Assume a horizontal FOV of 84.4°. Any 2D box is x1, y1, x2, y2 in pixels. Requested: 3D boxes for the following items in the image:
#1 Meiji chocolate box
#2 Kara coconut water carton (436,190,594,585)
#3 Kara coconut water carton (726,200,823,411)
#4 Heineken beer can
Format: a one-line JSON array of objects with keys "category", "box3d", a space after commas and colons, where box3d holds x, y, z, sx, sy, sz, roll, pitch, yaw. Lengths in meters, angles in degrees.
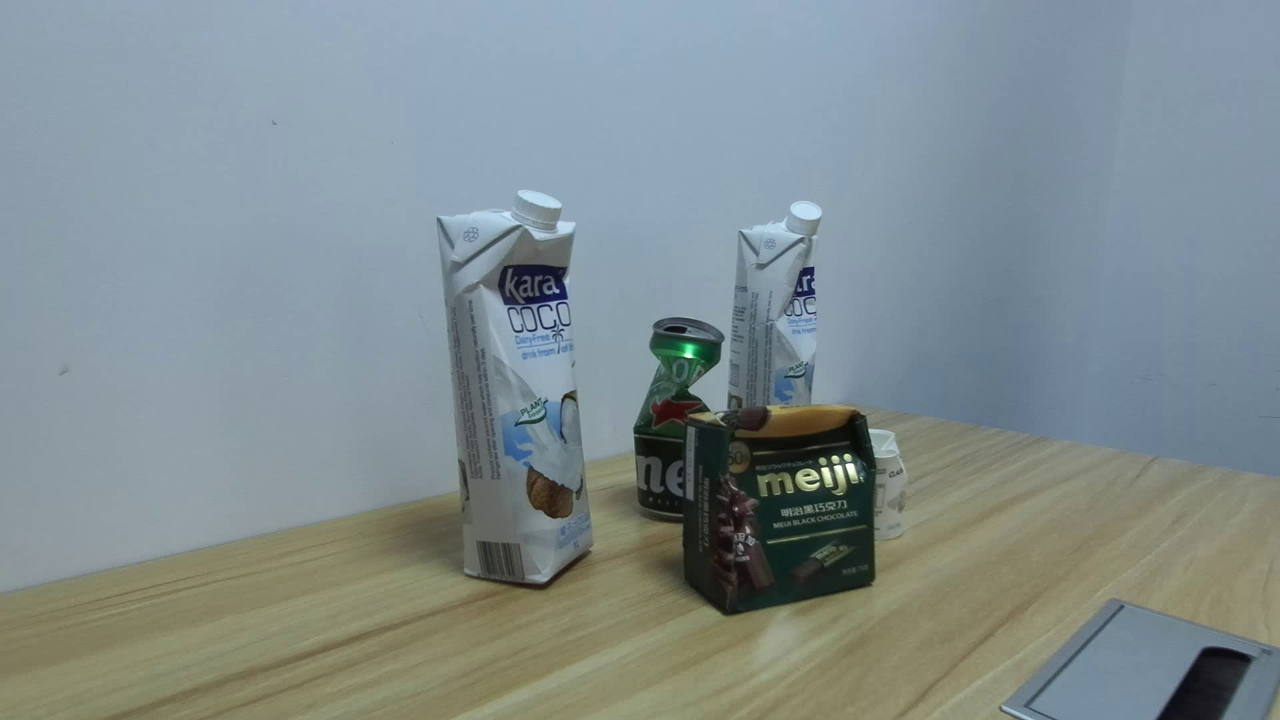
[{"category": "Meiji chocolate box", "box3d": [0.086, 0.091, 0.446, 0.113, 0.110, 0.058, -2, 2, -23]}, {"category": "Kara coconut water carton", "box3d": [-0.078, 0.016, 0.465, 0.071, 0.244, 0.100, 1, 10, 22]}, {"category": "Kara coconut water carton", "box3d": [0.124, -0.017, 0.656, 0.078, 0.255, 0.084, 10, 12, 40]}, {"category": "Heineken beer can", "box3d": [0.030, 0.048, 0.562, 0.067, 0.159, 0.078, -12, 21, -41]}]
